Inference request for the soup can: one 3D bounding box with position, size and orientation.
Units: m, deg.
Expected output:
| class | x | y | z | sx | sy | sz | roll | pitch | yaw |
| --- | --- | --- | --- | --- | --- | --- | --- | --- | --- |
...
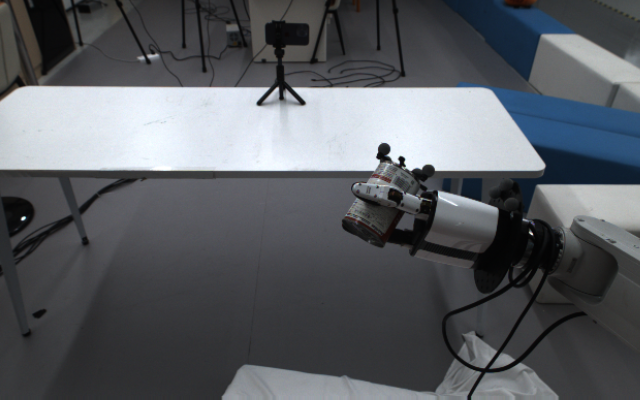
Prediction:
| class | x | y | z | sx | sy | sz | roll | pitch | yaw |
| --- | --- | --- | --- | --- | --- | --- | --- | --- | --- |
| soup can | 0.085 | 0.003 | 0.667 | 0.067 | 0.067 | 0.101 | 27 | 76 | 31 |
